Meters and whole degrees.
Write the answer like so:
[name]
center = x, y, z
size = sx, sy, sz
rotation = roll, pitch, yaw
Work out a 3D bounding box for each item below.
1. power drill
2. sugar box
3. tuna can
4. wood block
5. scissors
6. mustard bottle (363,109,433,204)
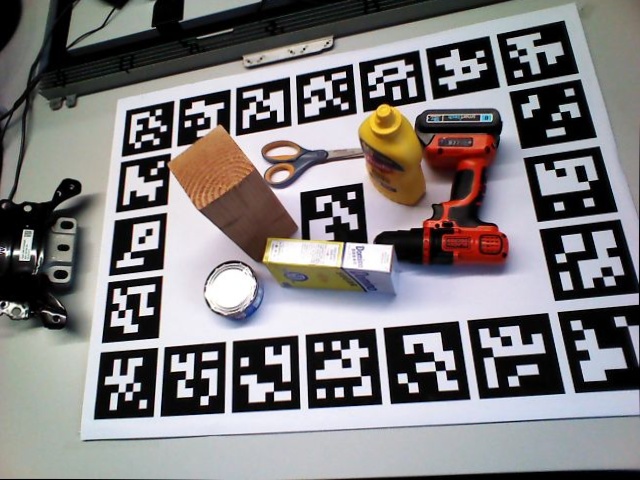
[power drill]
center = 0.167, -0.058, 0.724
size = 0.185, 0.057, 0.186
rotation = 5, 80, 17
[sugar box]
center = 0.030, 0.037, 0.710
size = 0.177, 0.093, 0.045
rotation = 4, 69, 14
[tuna can]
center = -0.125, 0.075, 0.765
size = 0.086, 0.034, 0.085
rotation = -4, 71, 12
[wood block]
center = -0.109, -0.055, 0.726
size = 0.091, 0.206, 0.090
rotation = -35, 67, 1
[scissors]
center = -0.017, -0.132, 0.820
size = 0.204, 0.016, 0.087
rotation = -6, 66, 13
[mustard bottle]
center = 0.104, -0.118, 0.698
size = 0.058, 0.191, 0.096
rotation = -46, 68, -3
